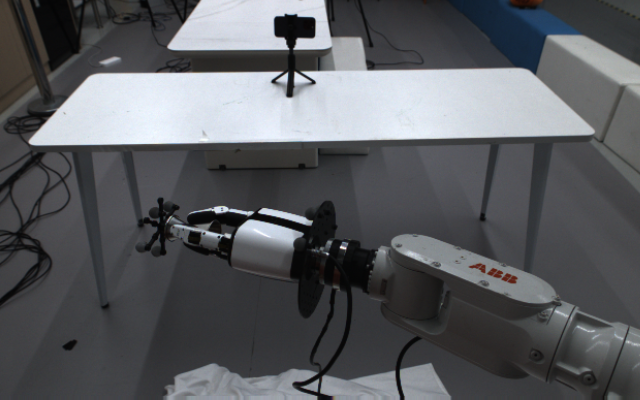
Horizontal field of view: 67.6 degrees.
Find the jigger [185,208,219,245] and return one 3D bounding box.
[{"bbox_3d":[-0.175,0.042,0.690,0.071,0.043,0.043,7,35,15],"label":"jigger"}]
